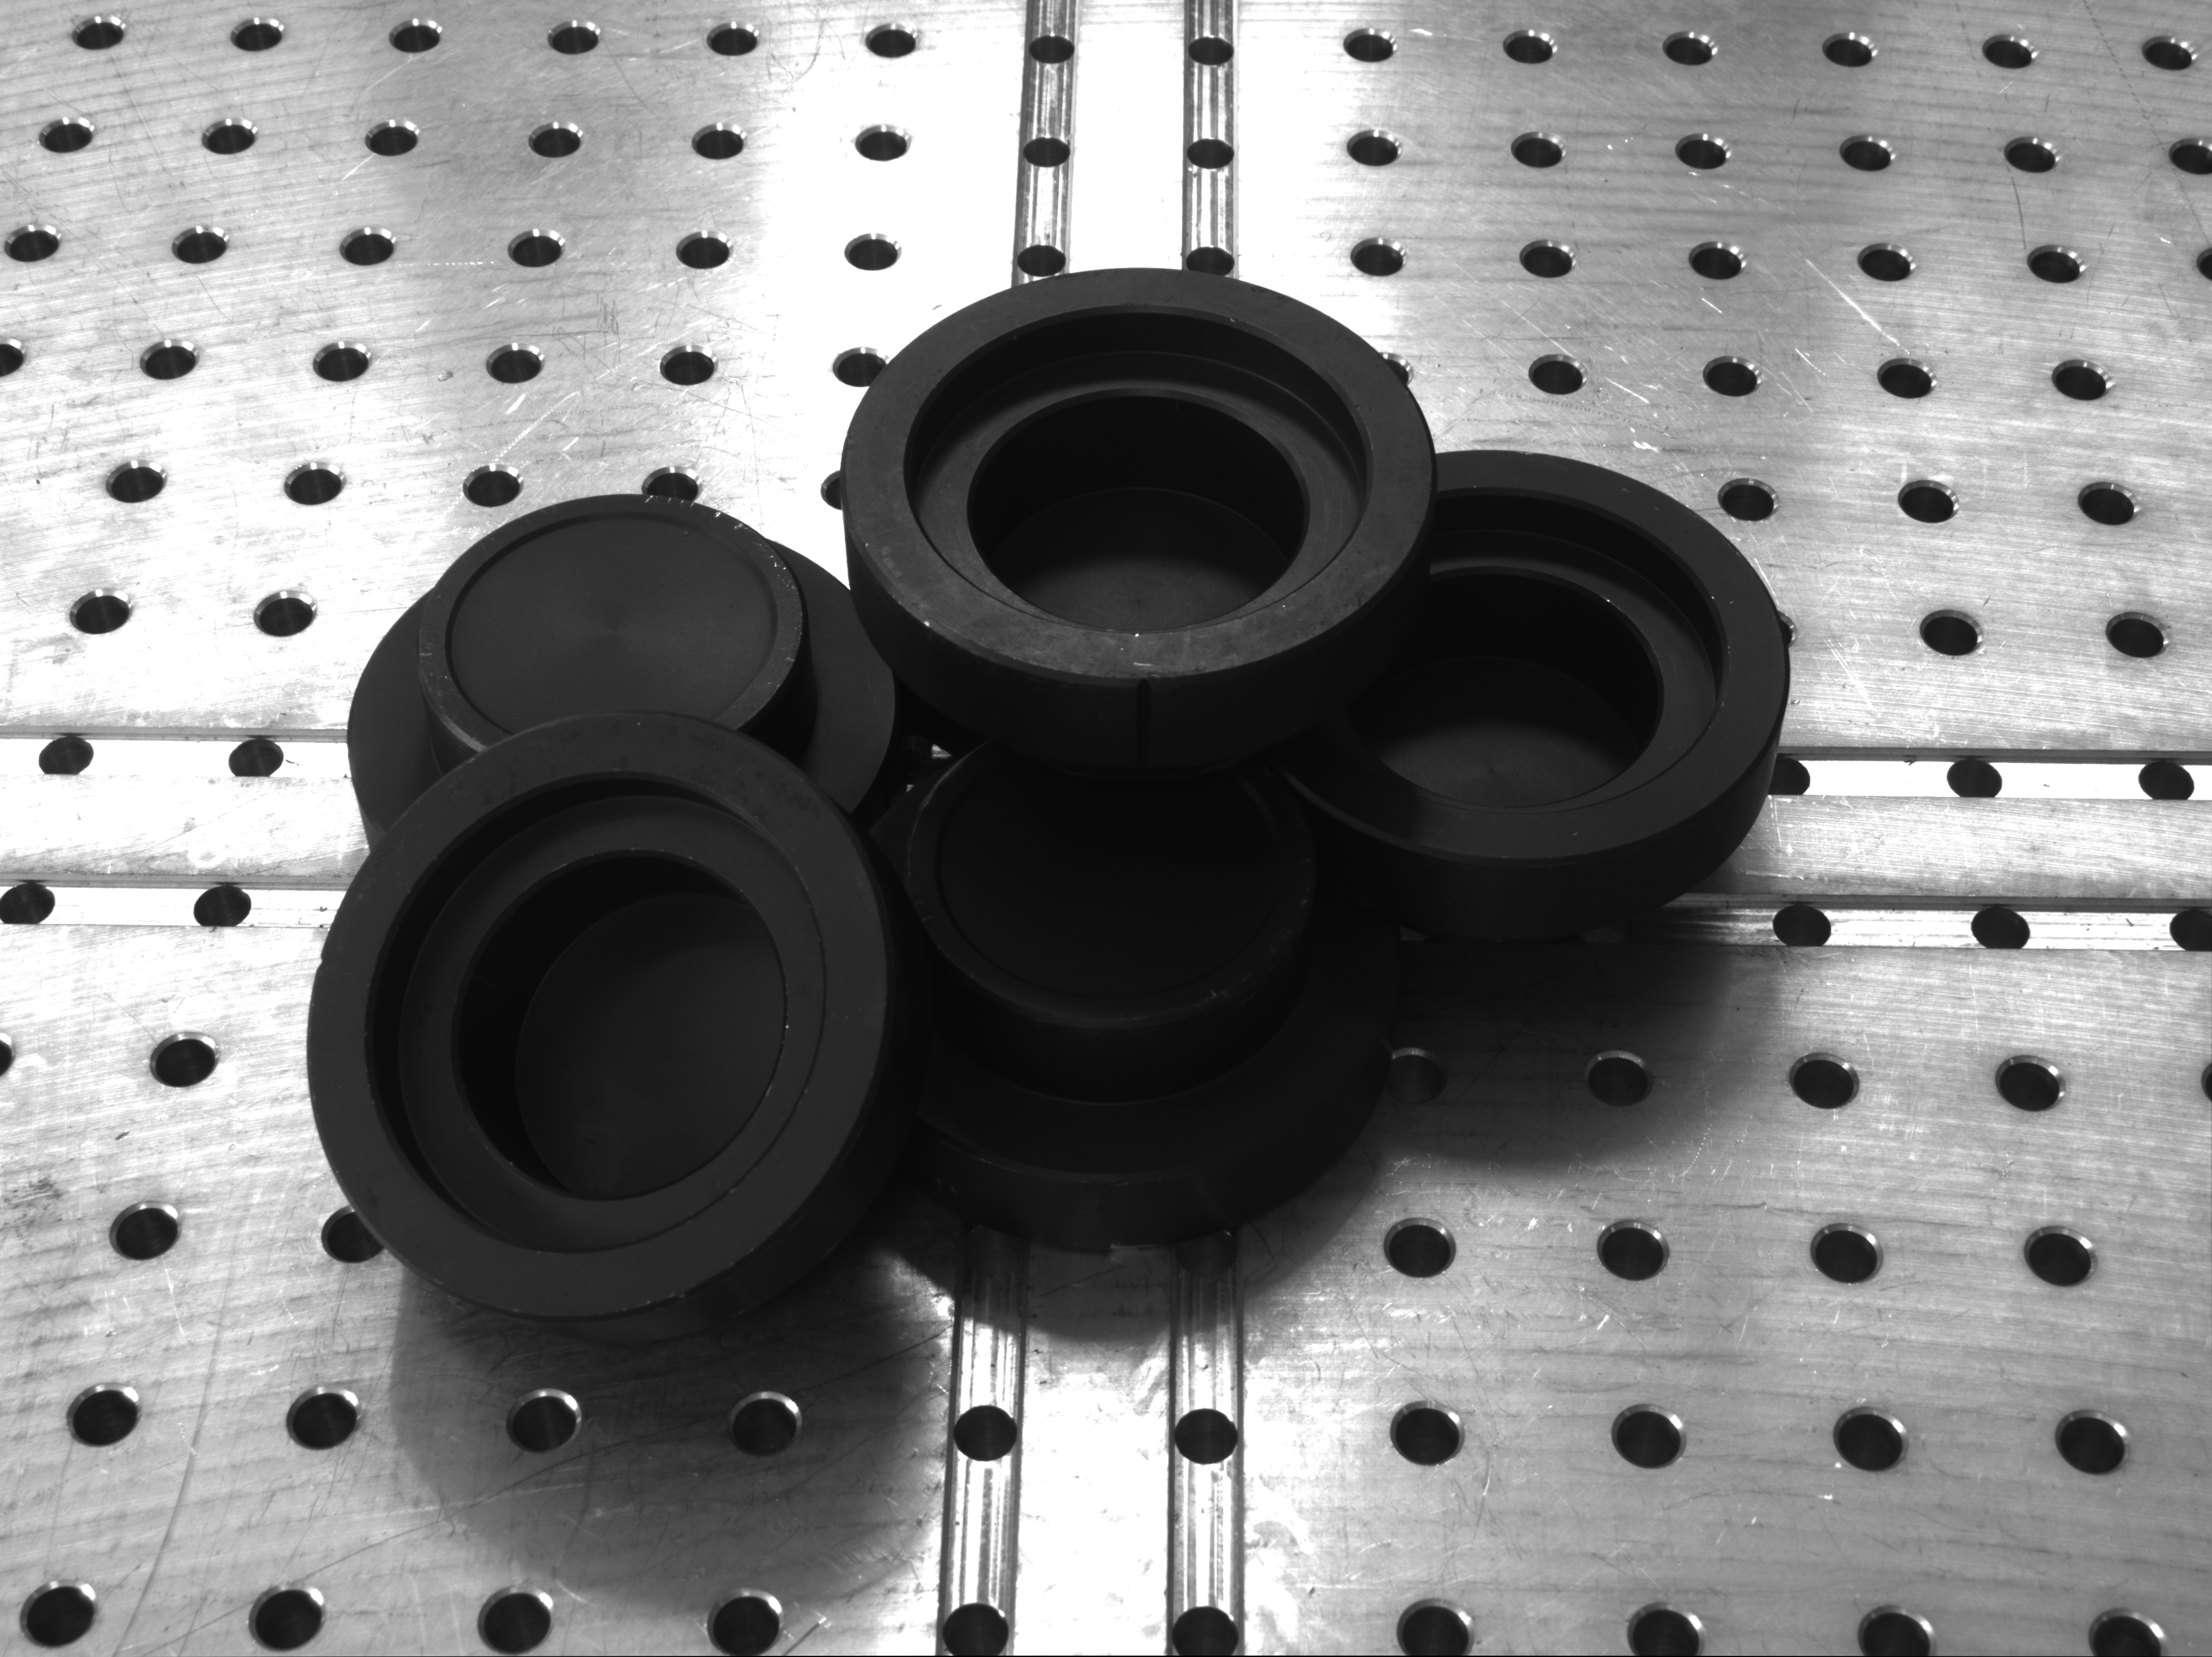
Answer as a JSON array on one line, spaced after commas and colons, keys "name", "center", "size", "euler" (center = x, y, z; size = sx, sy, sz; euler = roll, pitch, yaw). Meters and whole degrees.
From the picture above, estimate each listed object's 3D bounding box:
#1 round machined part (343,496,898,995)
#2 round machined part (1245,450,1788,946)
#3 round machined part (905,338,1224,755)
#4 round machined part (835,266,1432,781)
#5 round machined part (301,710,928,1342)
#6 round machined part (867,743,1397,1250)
[{"name": "round machined part", "center": [-0.086, -0.021, 0.652], "size": [0.098, 0.042, 0.098], "euler": [0, 50, 0]}, {"name": "round machined part", "center": [0.069, -0.018, 0.649], "size": [0.098, 0.042, 0.098], "euler": [0, 50, 0]}, {"name": "round machined part", "center": [0.001, -0.056, 0.682], "size": [0.098, 0.042, 0.098], "euler": [0, 50, 0]}, {"name": "round machined part", "center": [0.005, -0.047, 0.618], "size": [0.098, 0.042, 0.098], "euler": [0, 50, 0]}, {"name": "round machined part", "center": [-0.075, 0.034, 0.589], "size": [0.098, 0.042, 0.098], "euler": [-4, 72, 13]}, {"name": "round machined part", "center": [0.000, 0.019, 0.618], "size": [0.098, 0.042, 0.098], "euler": [0, 50, 0]}]
